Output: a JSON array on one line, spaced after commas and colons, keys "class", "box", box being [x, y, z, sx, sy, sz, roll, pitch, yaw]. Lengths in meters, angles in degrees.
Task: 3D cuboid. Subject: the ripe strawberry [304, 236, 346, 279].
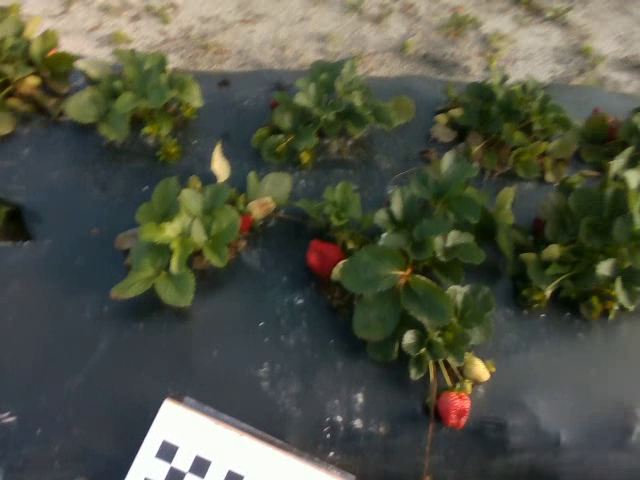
[{"class": "ripe strawberry", "box": [0.004, 0.026, 0.959, 0.070, 0.058, 0.057, 38, -6, -22]}]

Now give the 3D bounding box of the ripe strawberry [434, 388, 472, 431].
[{"class": "ripe strawberry", "box": [0.186, 0.233, 0.843, 0.047, 0.050, 0.035, 5, -11, 0]}]
